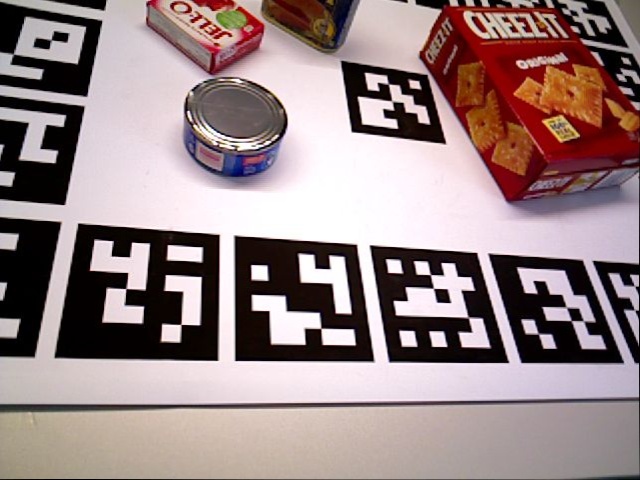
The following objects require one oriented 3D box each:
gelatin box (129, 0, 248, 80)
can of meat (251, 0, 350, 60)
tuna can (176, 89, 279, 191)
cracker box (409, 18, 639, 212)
[{"bbox_3d":[-0.127,-0.206,0.529,0.089,0.031,0.071,40,53,5],"label":"gelatin box"},{"bbox_3d":[-0.020,-0.250,0.565,0.101,0.086,0.056,28,54,2],"label":"can of meat"},{"bbox_3d":[-0.080,-0.085,0.464,0.085,0.034,0.084,6,61,-13],"label":"tuna can"},{"bbox_3d":[0.220,-0.144,0.579,0.161,0.074,0.212,-12,62,-25],"label":"cracker box"}]
